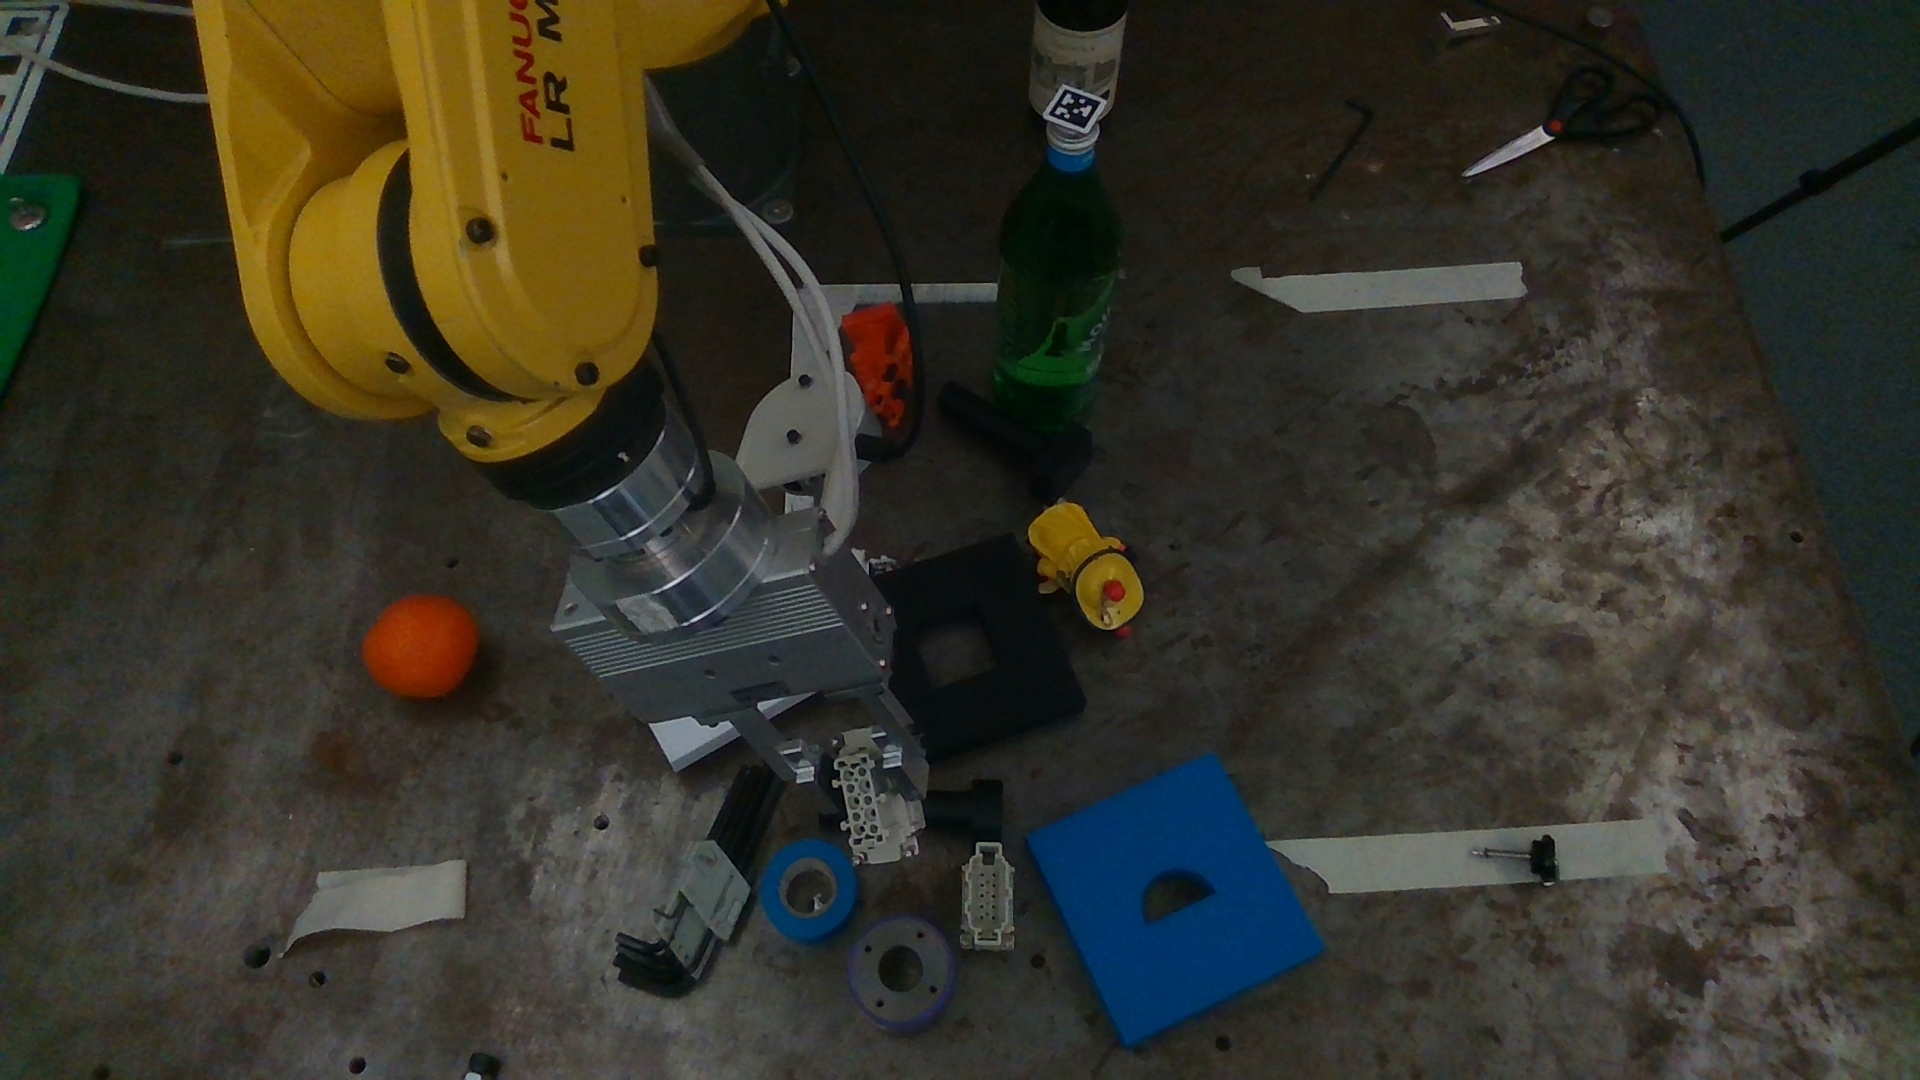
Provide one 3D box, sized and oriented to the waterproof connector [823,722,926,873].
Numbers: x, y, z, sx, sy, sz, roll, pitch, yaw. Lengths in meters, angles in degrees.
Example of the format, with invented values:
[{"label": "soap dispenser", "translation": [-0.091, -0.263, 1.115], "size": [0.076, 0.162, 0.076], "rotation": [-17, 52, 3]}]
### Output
[{"label": "waterproof connector", "translation": [-0.042, 0.122, 0.663], "size": [0.037, 0.038, 0.069], "rotation": [-15, 81, 15]}]
